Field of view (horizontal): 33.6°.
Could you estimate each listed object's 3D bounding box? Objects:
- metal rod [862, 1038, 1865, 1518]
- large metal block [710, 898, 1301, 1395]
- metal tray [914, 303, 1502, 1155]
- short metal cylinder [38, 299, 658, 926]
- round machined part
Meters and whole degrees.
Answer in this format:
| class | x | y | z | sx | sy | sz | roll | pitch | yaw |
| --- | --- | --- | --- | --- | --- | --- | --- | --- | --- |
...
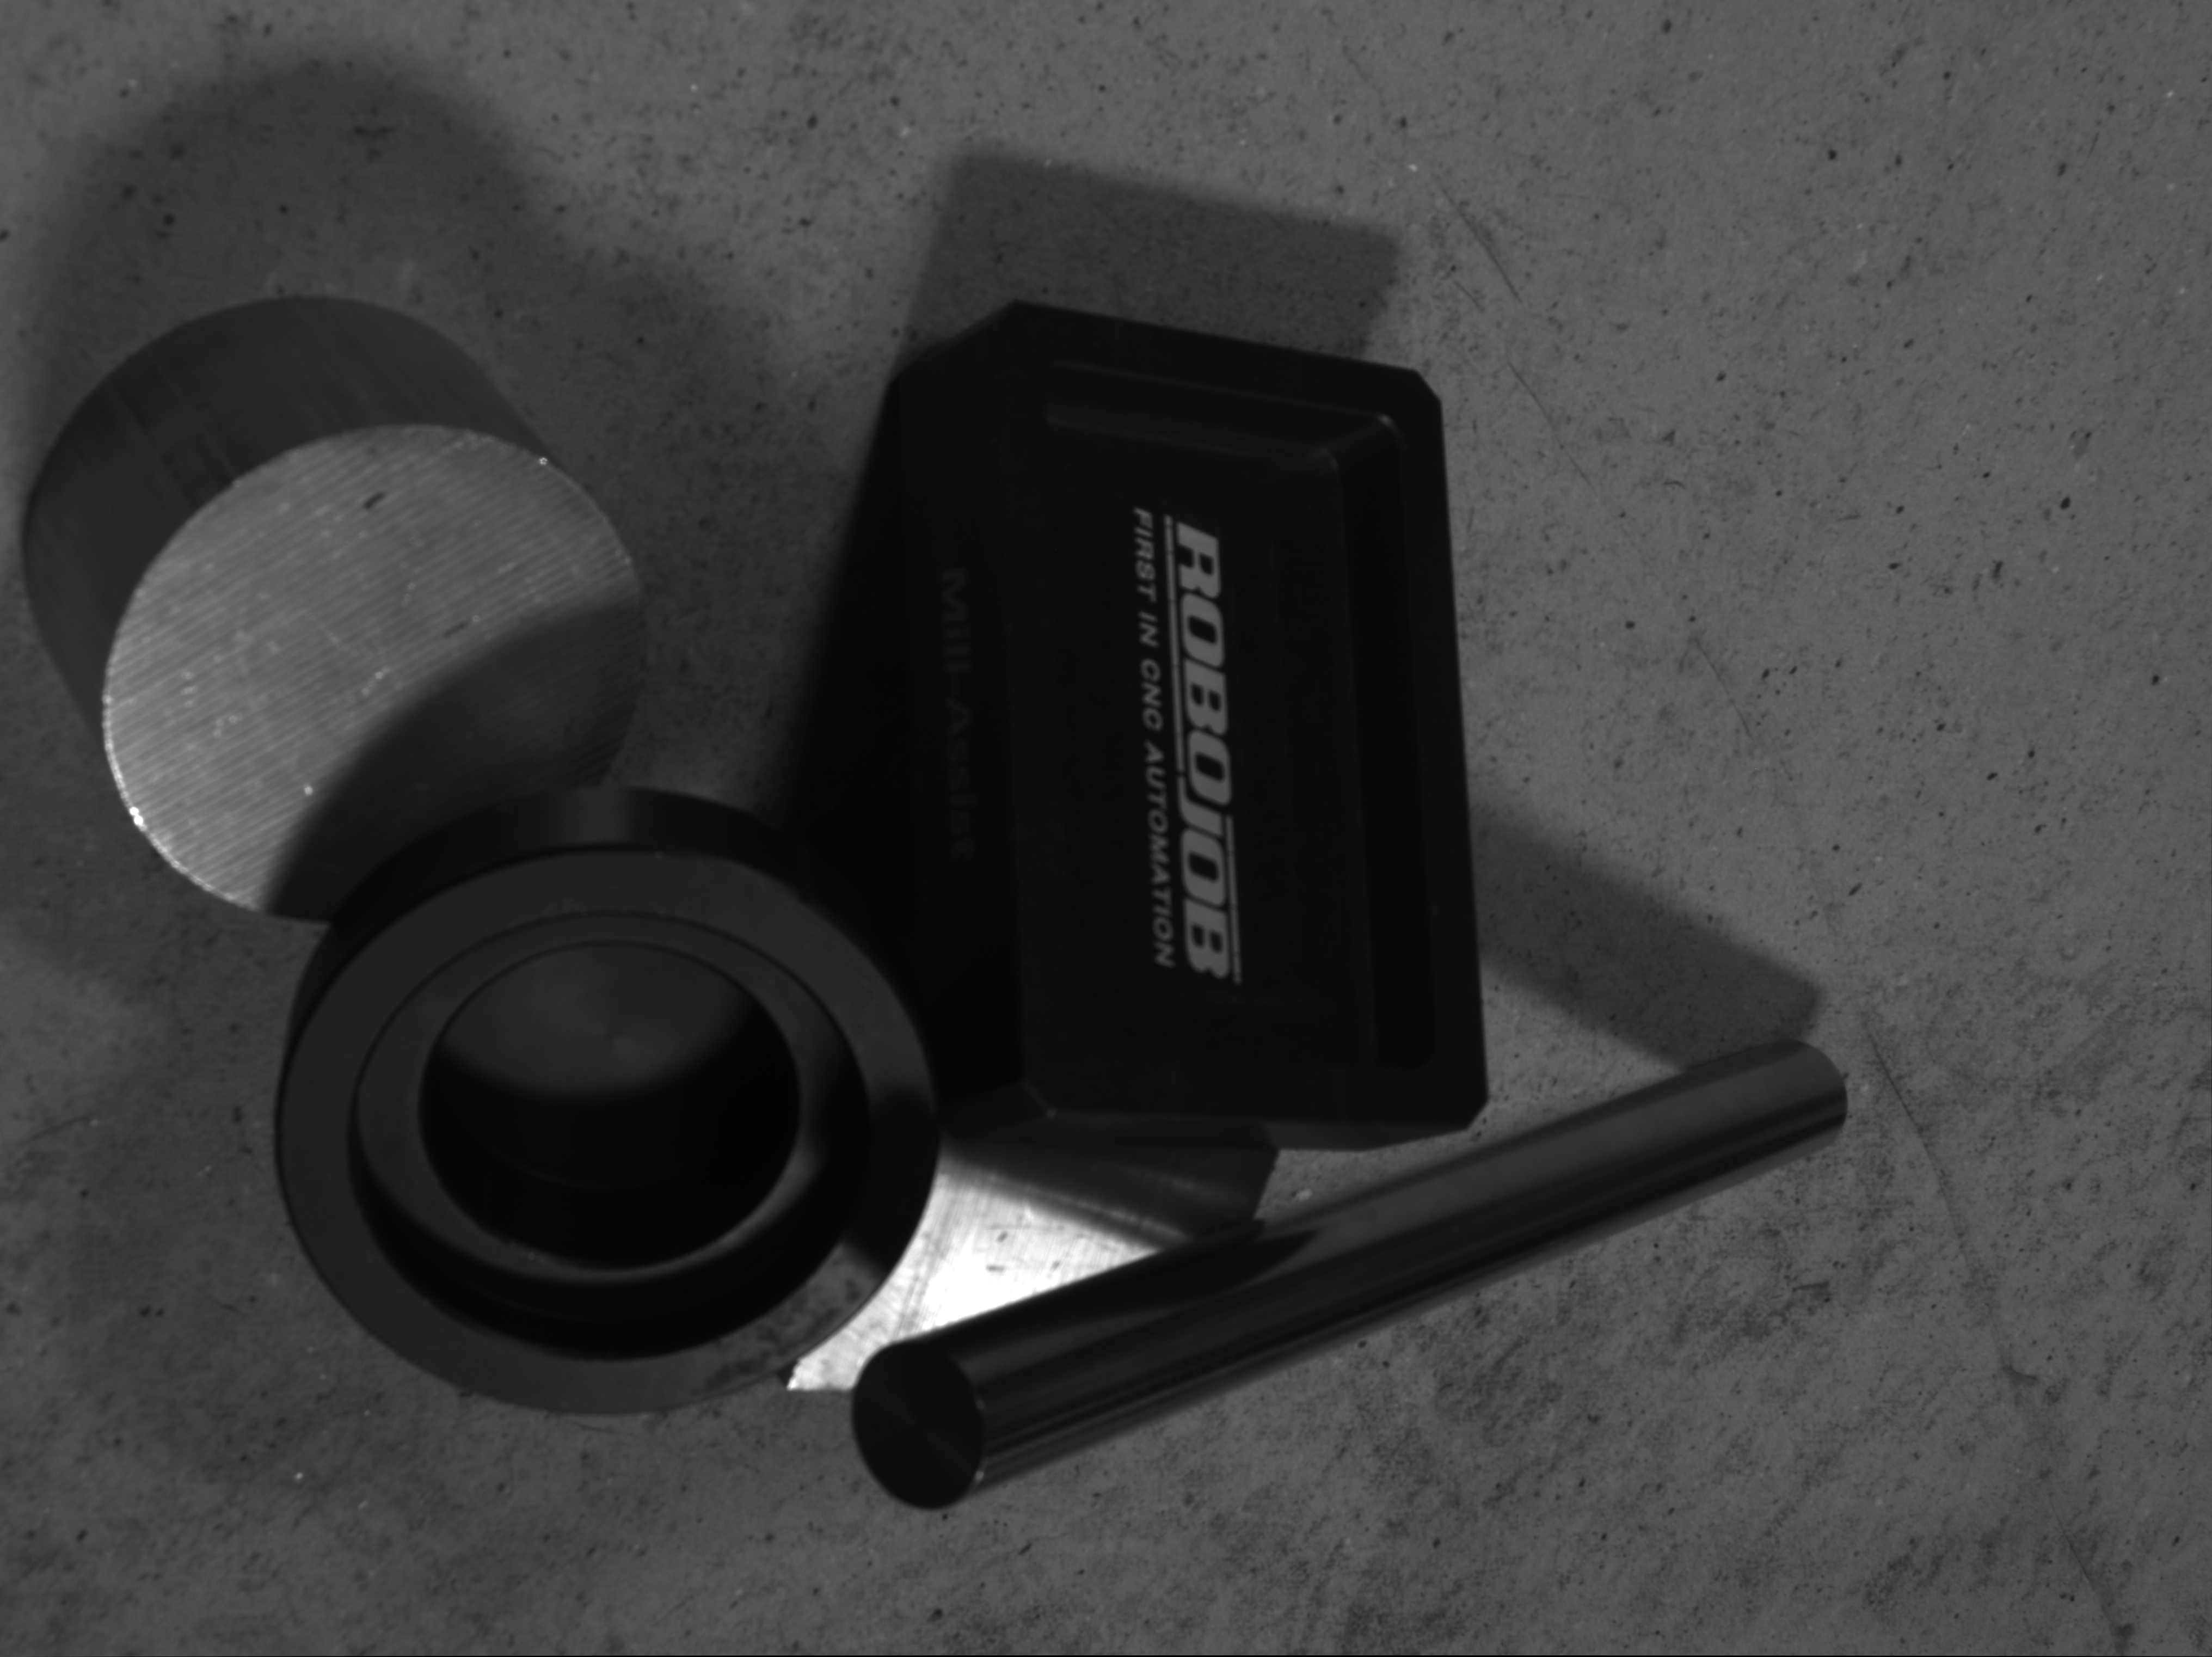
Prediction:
| class | x | y | z | sx | sy | sz | roll | pitch | yaw |
| --- | --- | --- | --- | --- | --- | --- | --- | --- | --- |
| metal rod | 0.062 | 0.072 | 0.655 | 0.301 | 0.025 | 0.025 | -10 | 126 | -54 |
| large metal block | -0.025 | 0.053 | 0.633 | 0.080 | 0.080 | 0.050 | 5 | 116 | -32 |
| metal tray | 0.017 | -0.014 | 0.599 | 0.090 | 0.030 | 0.130 | 5 | 76 | -32 |
| short metal cylinder | -0.114 | -0.032 | 0.548 | 0.080 | 0.050 | 0.080 | -15 | 125 | -22 |
| round machined part | -0.075 | 0.038 | 0.562 | 0.098 | 0.042 | 0.098 | -3 | 116 | -6 |
